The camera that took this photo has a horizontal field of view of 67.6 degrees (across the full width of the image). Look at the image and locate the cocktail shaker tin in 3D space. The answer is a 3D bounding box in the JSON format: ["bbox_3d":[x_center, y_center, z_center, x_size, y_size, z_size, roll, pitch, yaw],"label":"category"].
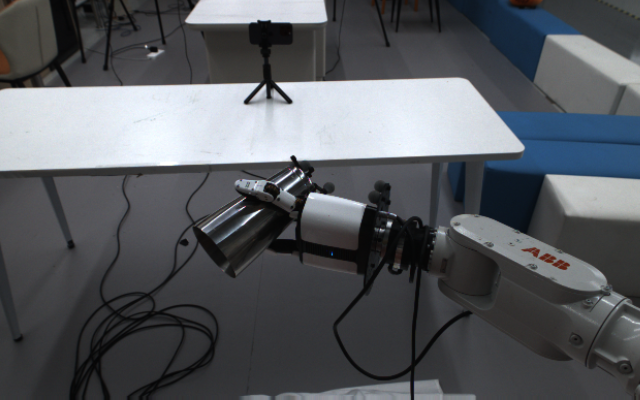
[{"bbox_3d":[-0.087,0.019,0.702,0.170,0.093,0.093,-38,49,-24],"label":"cocktail shaker tin"}]
